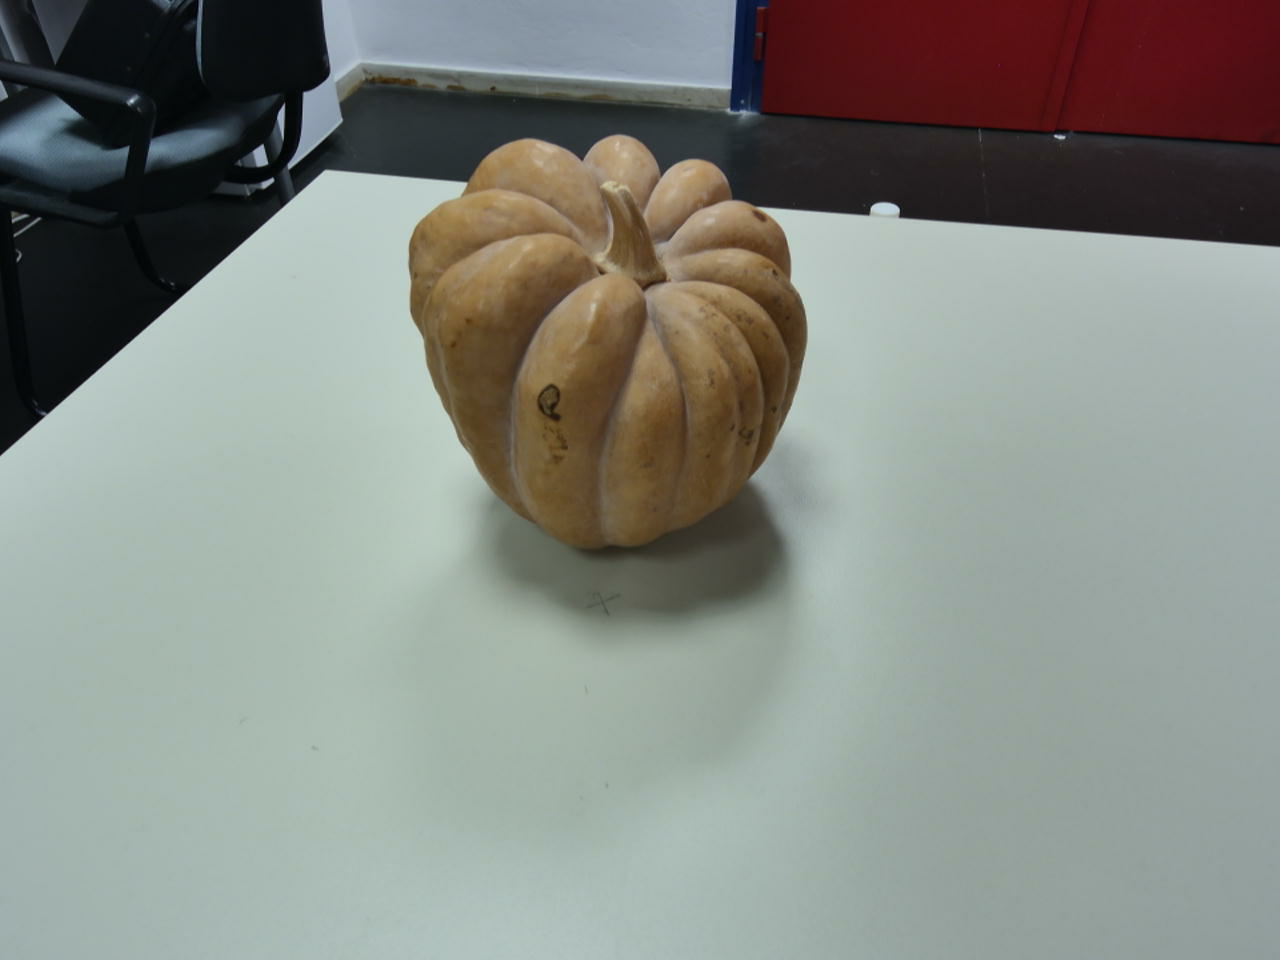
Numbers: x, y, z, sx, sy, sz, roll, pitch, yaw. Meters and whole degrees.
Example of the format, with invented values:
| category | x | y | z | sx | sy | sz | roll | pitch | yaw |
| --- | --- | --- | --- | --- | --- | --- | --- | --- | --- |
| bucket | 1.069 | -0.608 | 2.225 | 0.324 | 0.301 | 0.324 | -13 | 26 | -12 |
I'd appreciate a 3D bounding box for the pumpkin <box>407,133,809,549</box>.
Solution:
| category | x | y | z | sx | sy | sz | roll | pitch | yaw |
| --- | --- | --- | --- | --- | --- | --- | --- | --- | --- |
| pumpkin | -0.015 | -0.066 | 0.487 | 0.199 | 0.177 | 0.198 | 0 | 39 | 0 |
